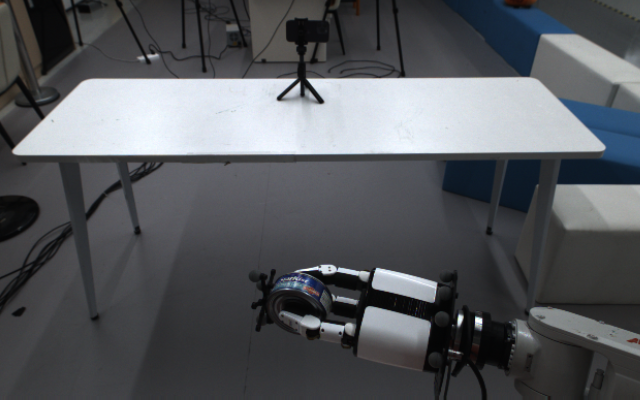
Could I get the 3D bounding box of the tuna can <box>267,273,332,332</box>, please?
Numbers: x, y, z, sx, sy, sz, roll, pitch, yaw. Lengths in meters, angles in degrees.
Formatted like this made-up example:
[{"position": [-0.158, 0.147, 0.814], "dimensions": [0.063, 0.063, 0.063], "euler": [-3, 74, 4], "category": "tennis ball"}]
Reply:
[{"position": [-0.024, 0.142, 0.645], "dimensions": [0.085, 0.085, 0.034], "euler": [9, 33, 10], "category": "tuna can"}]
